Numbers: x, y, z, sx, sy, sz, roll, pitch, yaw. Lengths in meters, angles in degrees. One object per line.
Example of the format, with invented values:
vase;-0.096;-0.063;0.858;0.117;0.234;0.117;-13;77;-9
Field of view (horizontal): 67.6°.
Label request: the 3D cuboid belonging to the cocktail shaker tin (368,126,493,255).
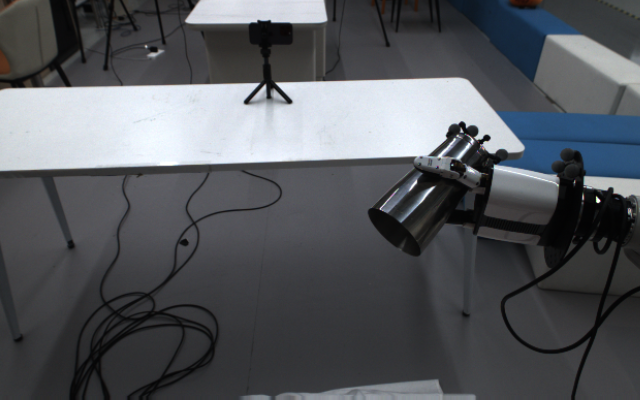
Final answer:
cocktail shaker tin;0.157;-0.019;0.674;0.170;0.093;0.093;-43;50;-14
